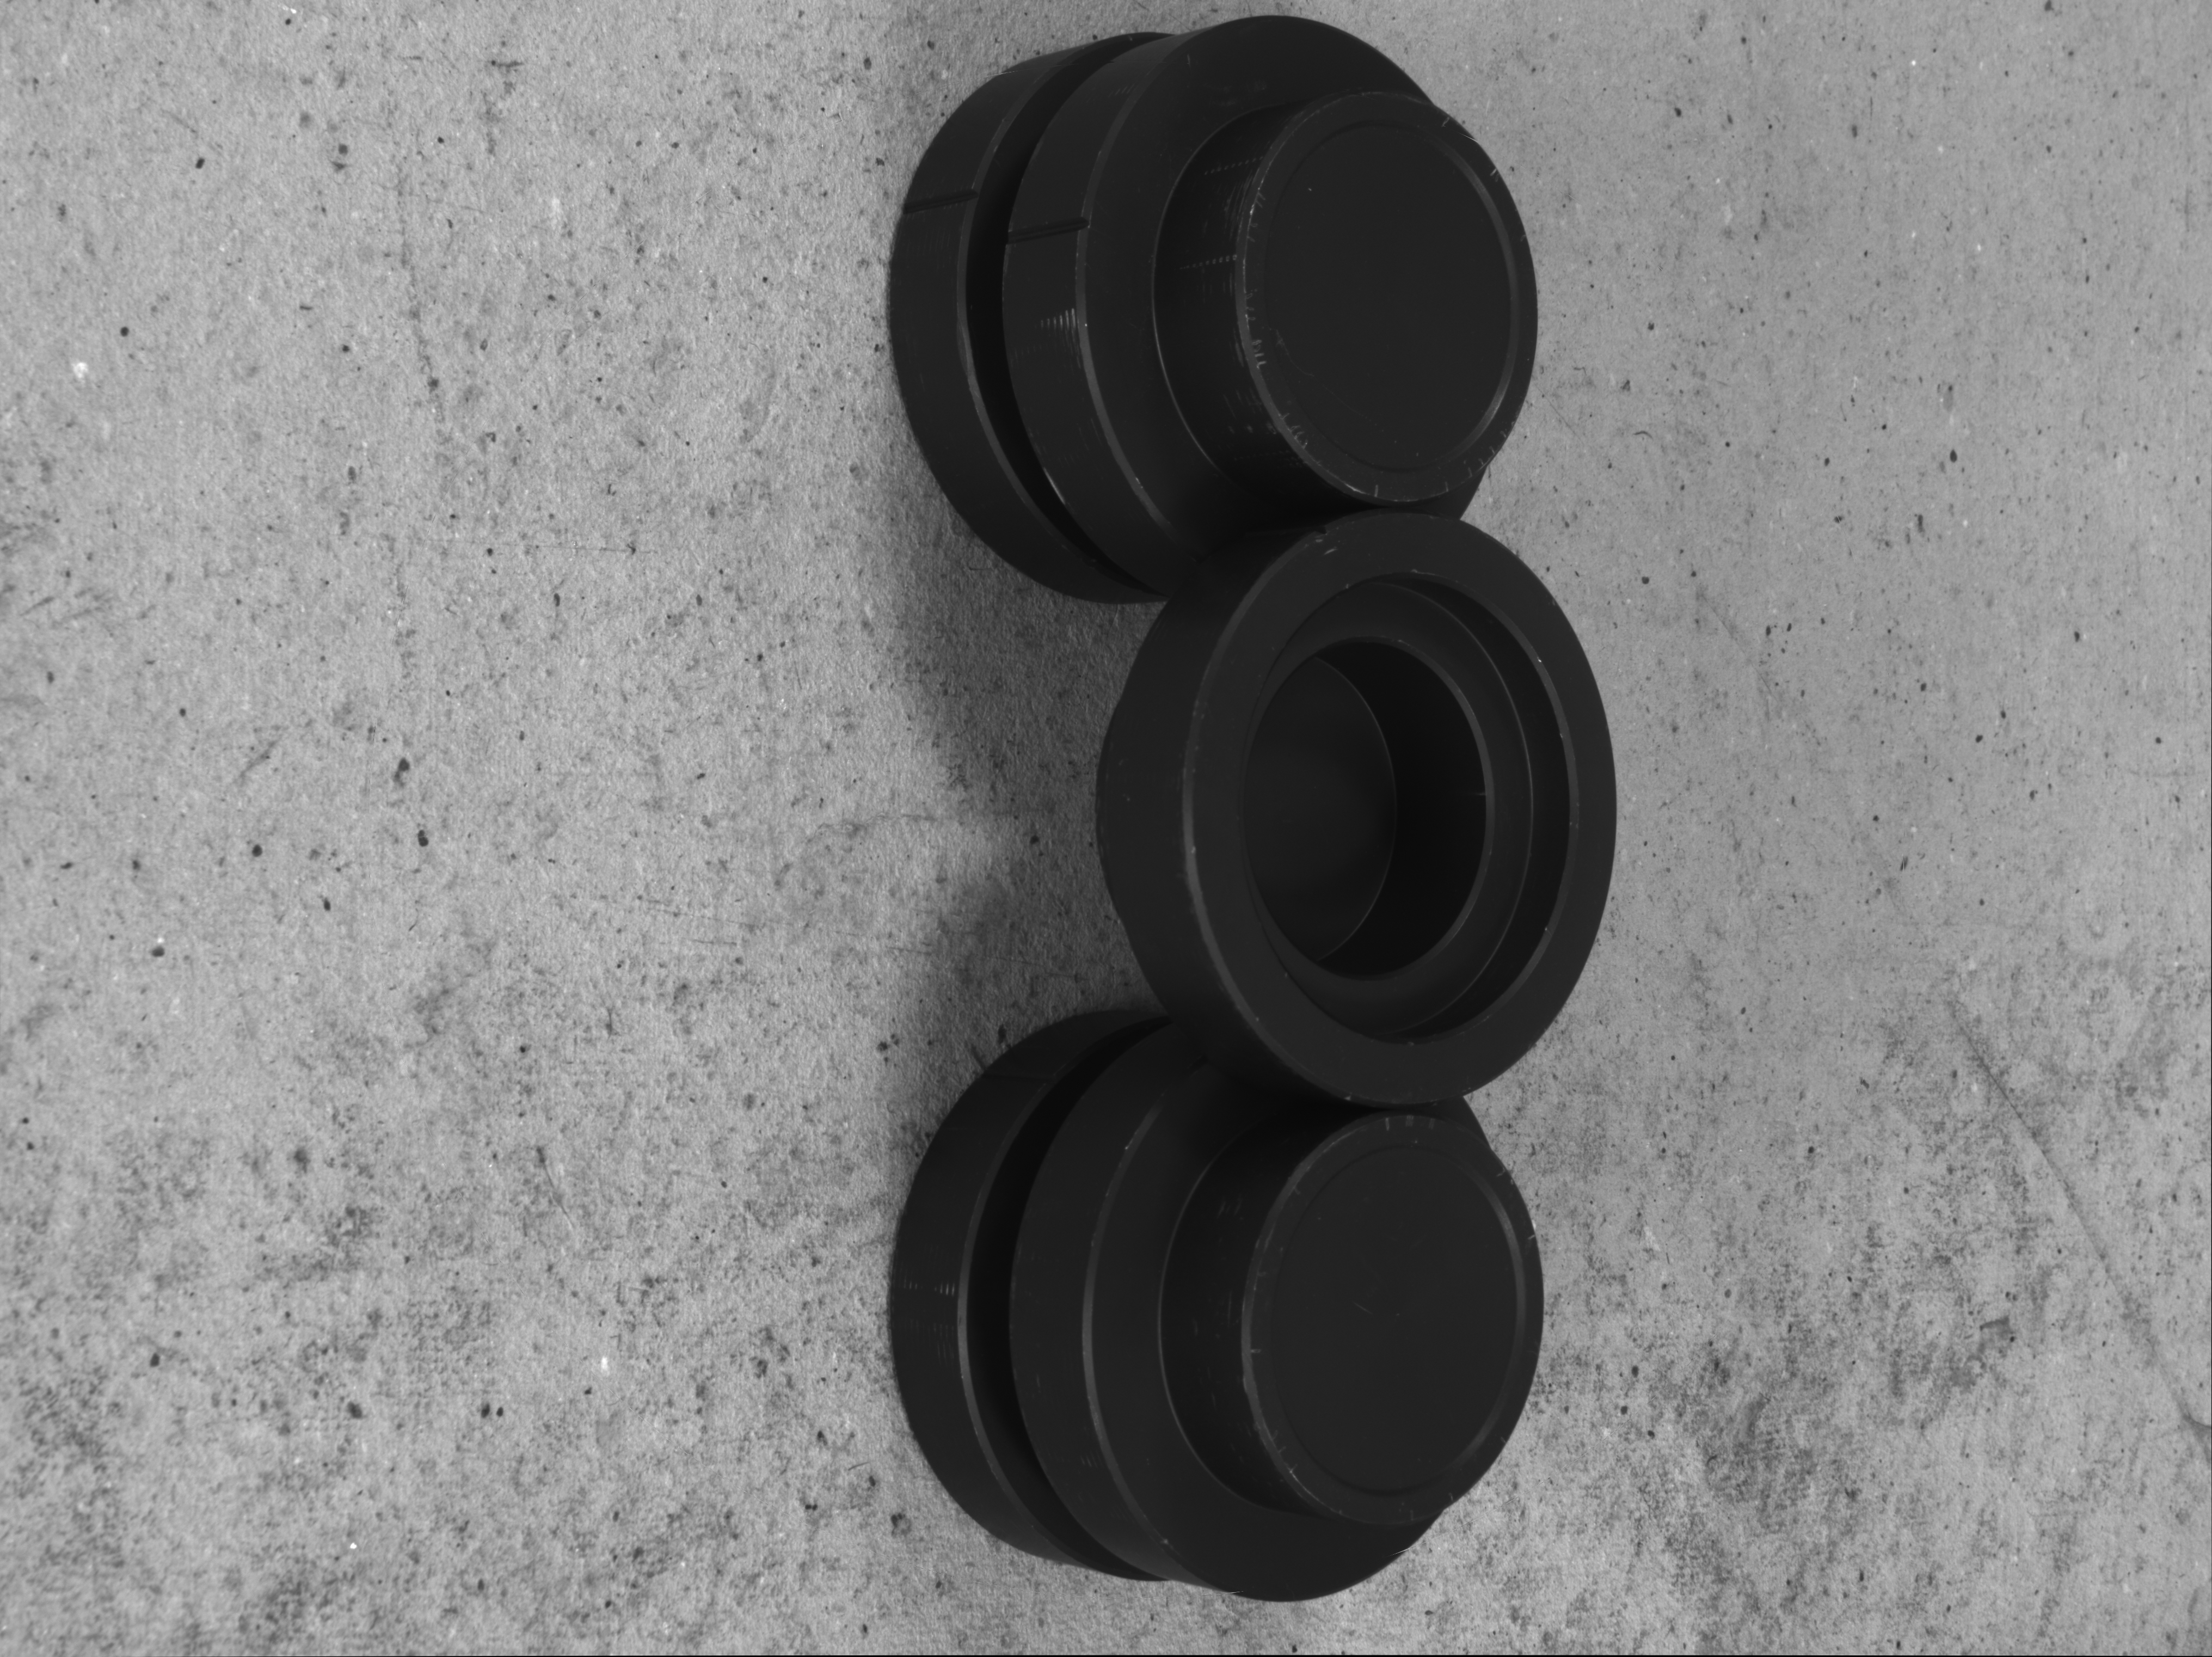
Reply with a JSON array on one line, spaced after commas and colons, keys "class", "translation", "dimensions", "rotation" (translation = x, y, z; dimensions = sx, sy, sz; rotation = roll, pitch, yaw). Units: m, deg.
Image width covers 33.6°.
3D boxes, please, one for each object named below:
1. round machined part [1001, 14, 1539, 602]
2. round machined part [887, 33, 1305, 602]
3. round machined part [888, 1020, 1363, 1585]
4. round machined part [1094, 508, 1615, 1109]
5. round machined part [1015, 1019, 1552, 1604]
[{"class": "round machined part", "translation": [0.034, -0.086, 0.611], "dimensions": [0.098, 0.042, 0.098], "rotation": [0, 91, -39]}, {"class": "round machined part", "translation": [0.014, -0.089, 0.636], "dimensions": [0.098, 0.042, 0.098], "rotation": [0, 91, -38]}, {"class": "round machined part", "translation": [0.014, 0.082, 0.638], "dimensions": [0.098, 0.042, 0.098], "rotation": [1, 88, -39]}, {"class": "round machined part", "translation": [0.037, -0.003, 0.614], "dimensions": [0.098, 0.042, 0.098], "rotation": [0, 90, -40]}, {"class": "round machined part", "translation": [0.036, 0.080, 0.611], "dimensions": [0.098, 0.042, 0.098], "rotation": [0, 91, -39]}]
